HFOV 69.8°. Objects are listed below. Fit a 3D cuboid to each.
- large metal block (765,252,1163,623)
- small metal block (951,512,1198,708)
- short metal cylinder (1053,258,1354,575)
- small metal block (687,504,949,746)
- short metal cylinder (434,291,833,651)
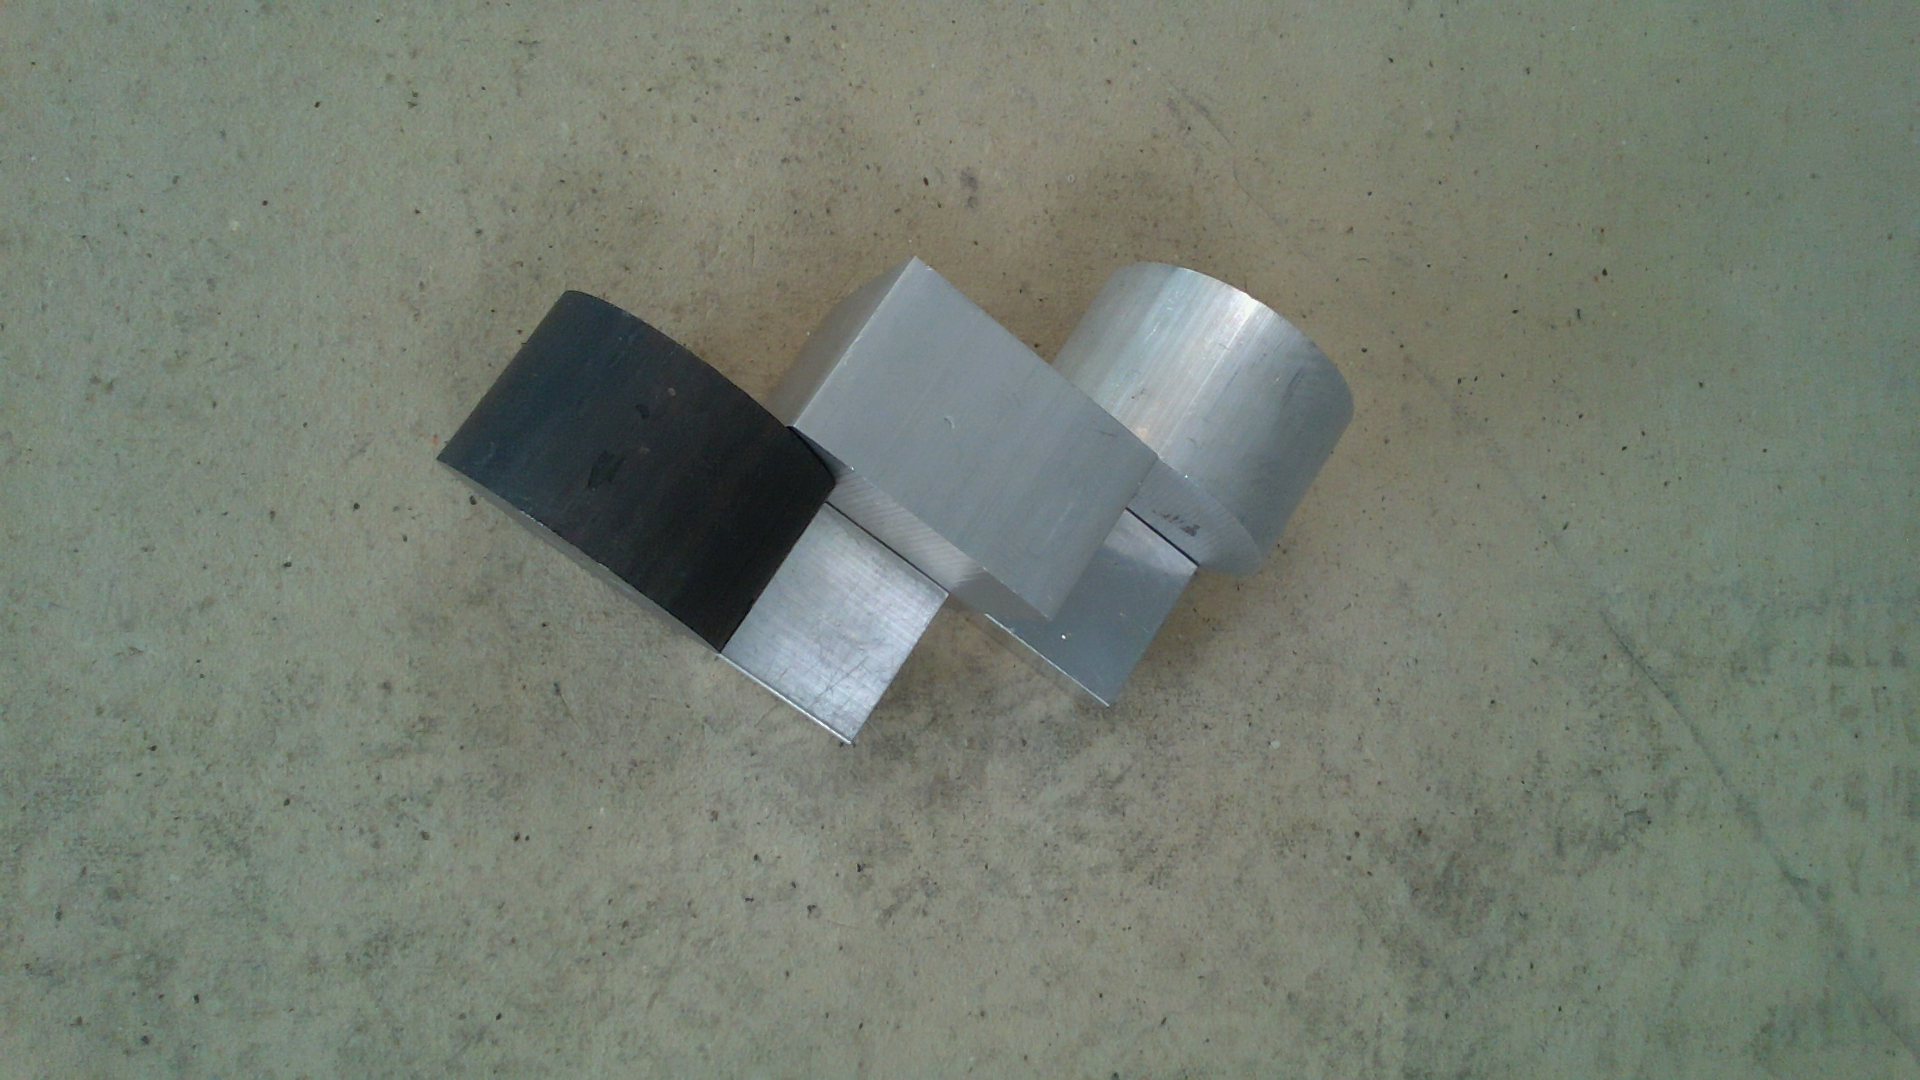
[{"bbox_3d":[-0.008,-0.023,0.362,0.080,0.080,0.050,37,78,-16],"label":"large metal block"},{"bbox_3d":[0.033,0.014,0.406,0.050,0.025,0.050,37,78,-16],"label":"small metal block"},{"bbox_3d":[0.062,-0.033,0.387,0.080,0.080,0.050,37,78,-16],"label":"short metal cylinder"},{"bbox_3d":[-0.040,0.021,0.380,0.050,0.025,0.050,37,78,-16],"label":"small metal block"},{"bbox_3d":[-0.078,-0.015,0.336,0.080,0.080,0.050,37,78,-16],"label":"short metal cylinder"}]
